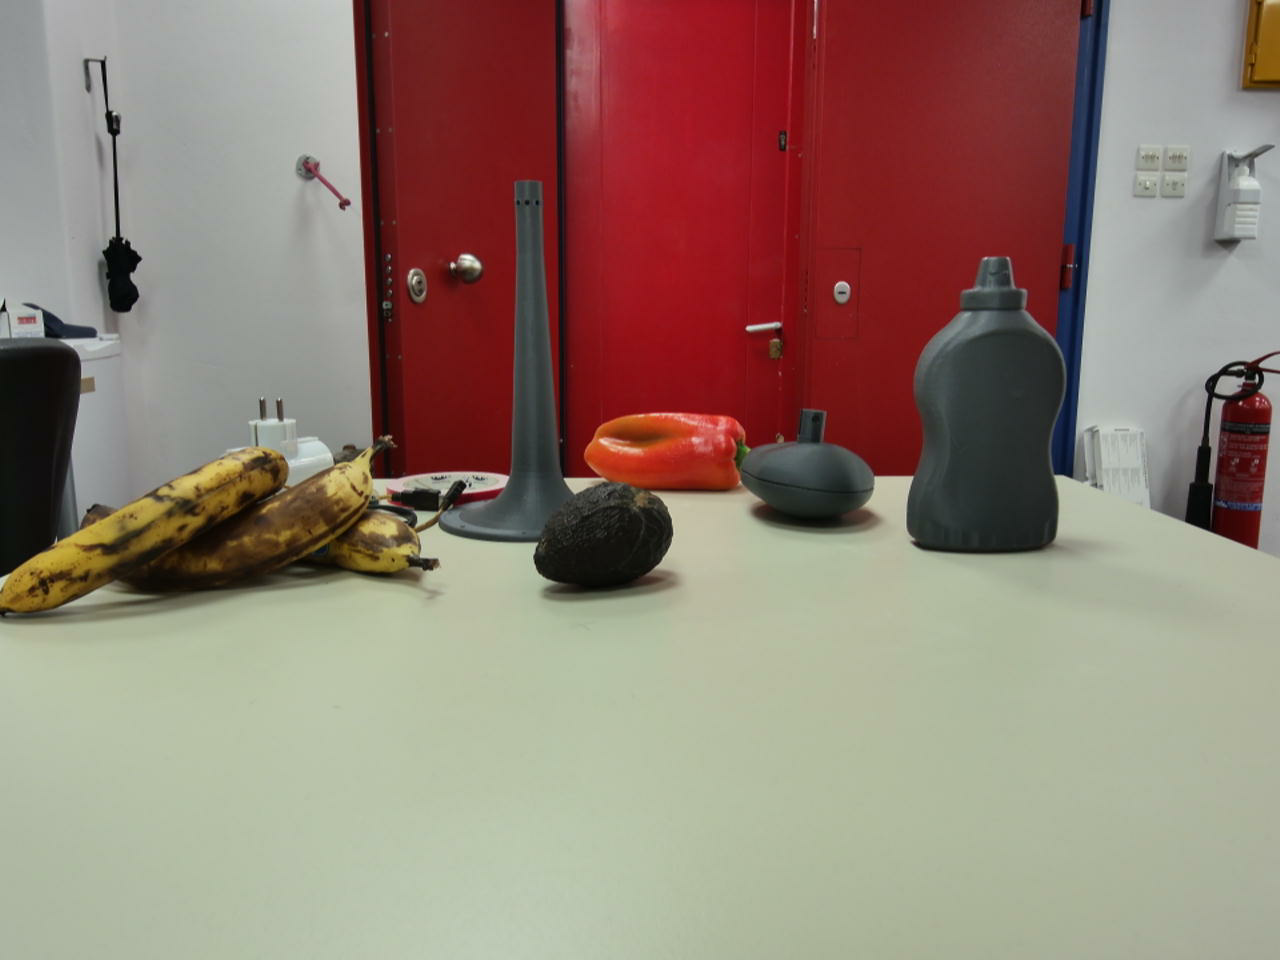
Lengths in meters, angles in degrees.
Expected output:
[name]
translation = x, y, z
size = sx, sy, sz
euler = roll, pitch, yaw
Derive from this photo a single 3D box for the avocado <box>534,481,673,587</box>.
[avocado]
translation = -0.023, 0.033, 0.606
size = 0.092, 0.062, 0.062
euler = -3, 9, -24
